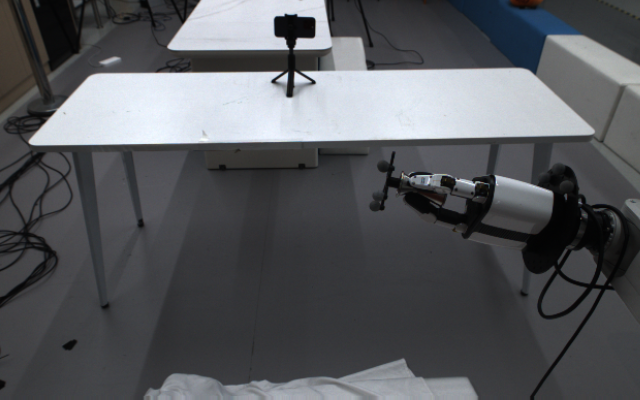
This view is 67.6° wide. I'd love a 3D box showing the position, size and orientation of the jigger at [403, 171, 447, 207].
[{"bbox_3d":[0.155,-0.020,0.707,0.071,0.043,0.043,13,36,3],"label":"jigger"}]
